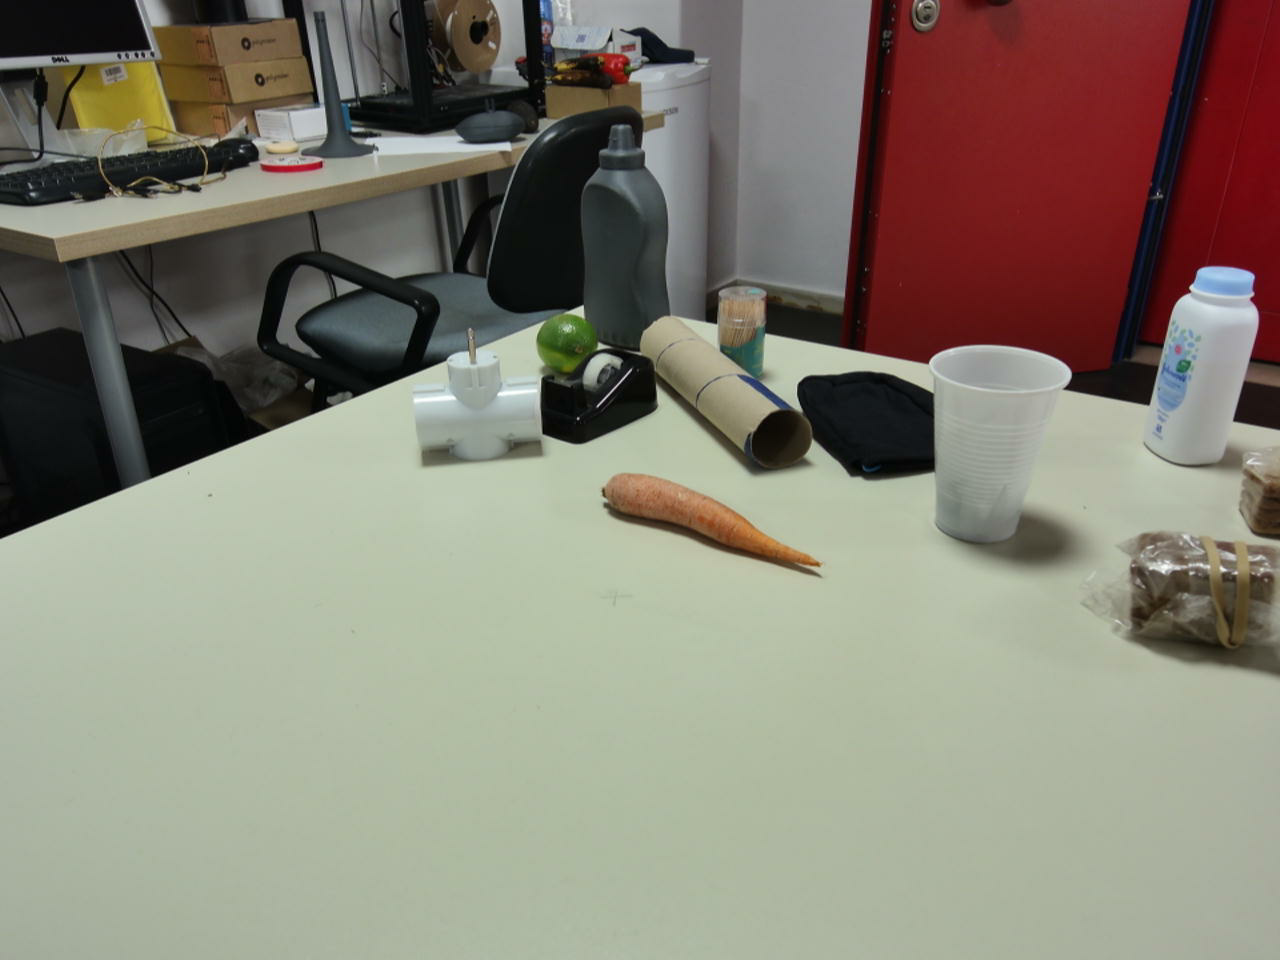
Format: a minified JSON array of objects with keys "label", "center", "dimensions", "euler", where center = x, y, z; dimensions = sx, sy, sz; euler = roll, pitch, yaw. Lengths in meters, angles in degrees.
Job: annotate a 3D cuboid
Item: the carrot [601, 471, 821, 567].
[{"label":"carrot","center":[0.041,0.023,0.626],"dimensions":[0.163,0.029,0.031],"euler":[17,30,32]}]
